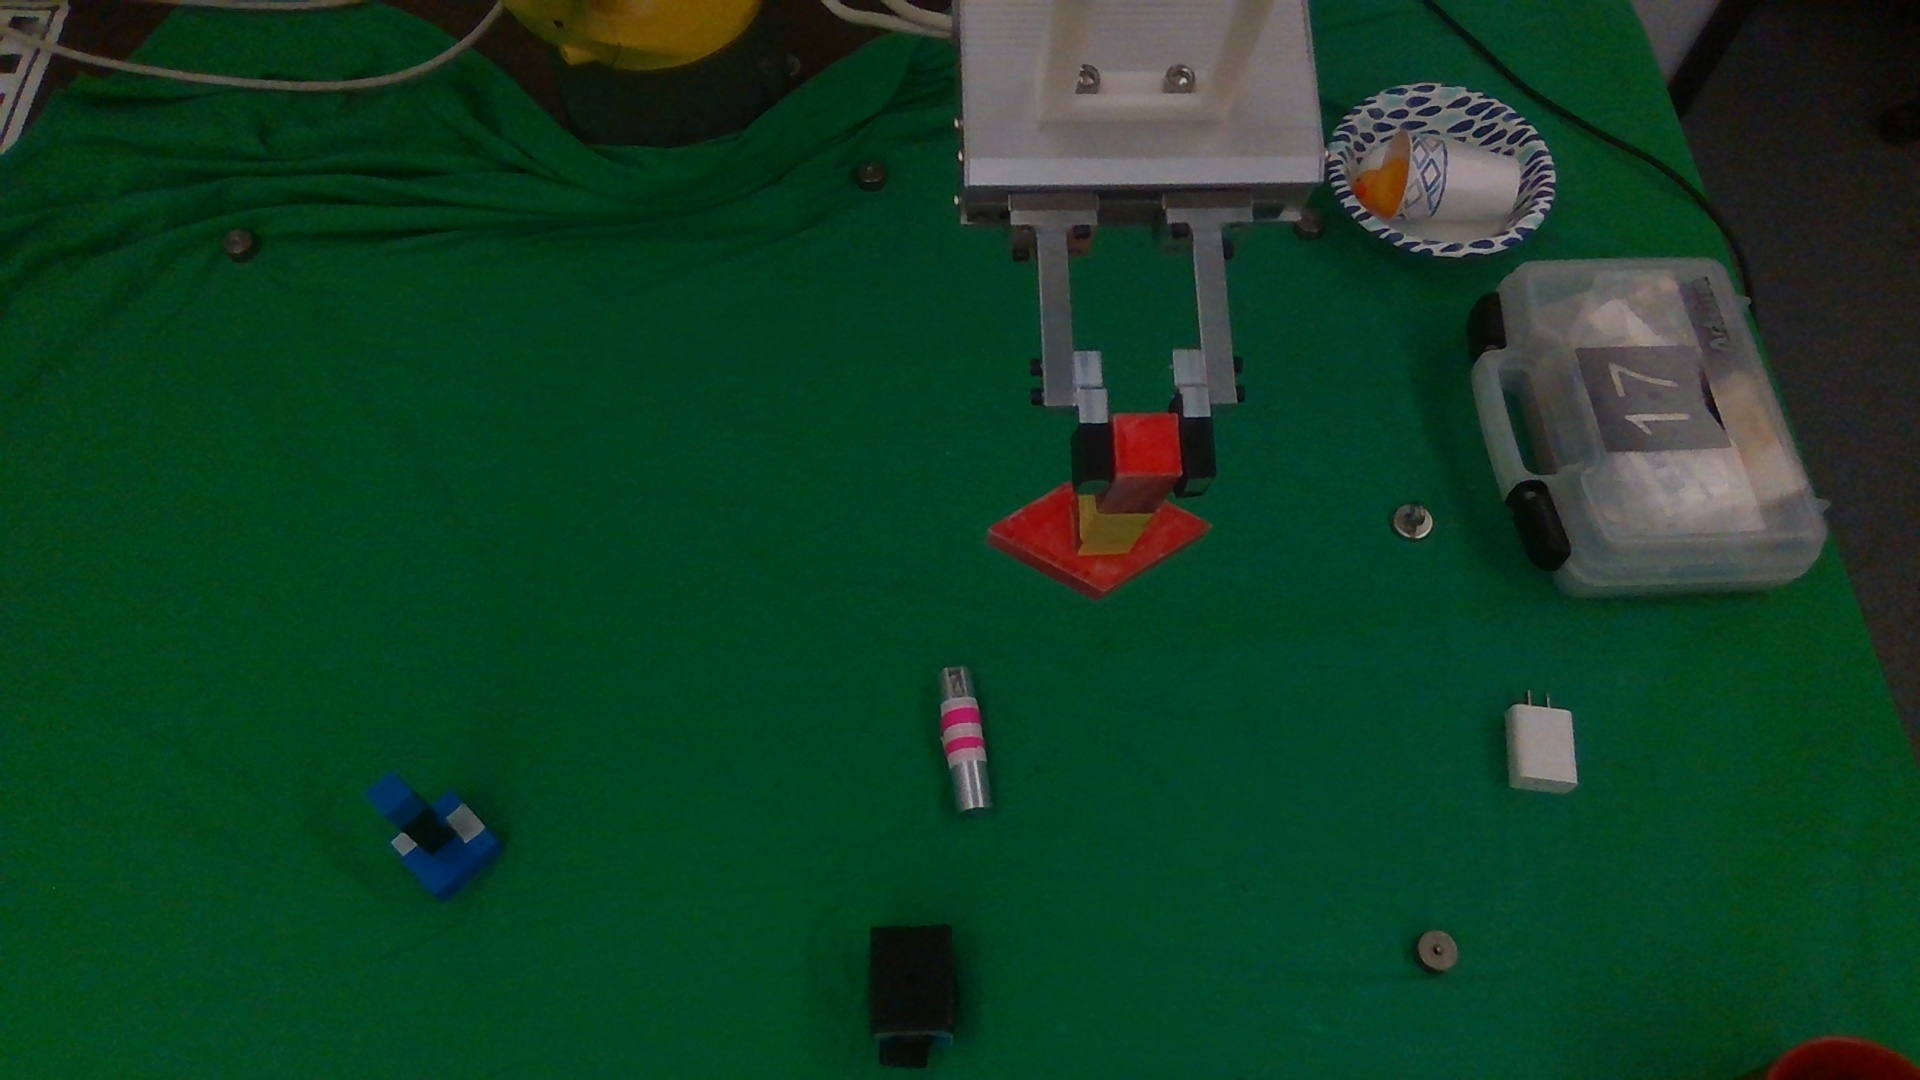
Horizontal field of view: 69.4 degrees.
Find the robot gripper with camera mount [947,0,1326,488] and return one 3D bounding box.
[{"bbox_3d":[0.072,-0.112,0.376,0.119,0.193,0.158,-1,78,-10],"label":"robot gripper with camera mount"}]

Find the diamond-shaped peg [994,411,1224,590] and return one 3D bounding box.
[{"bbox_3d":[0.057,-0.017,0.473,0.074,0.122,0.045,-31,81,-8],"label":"diamond-shaped peg"}]
